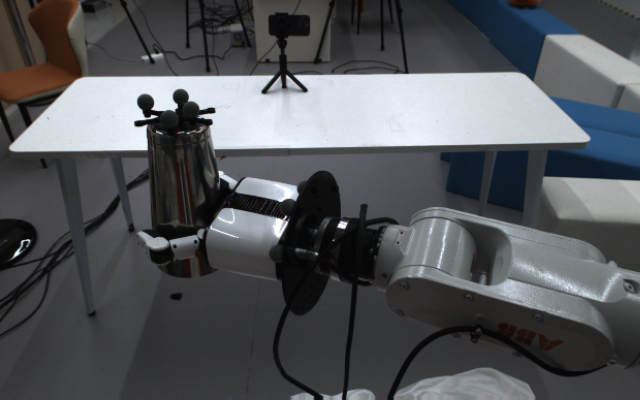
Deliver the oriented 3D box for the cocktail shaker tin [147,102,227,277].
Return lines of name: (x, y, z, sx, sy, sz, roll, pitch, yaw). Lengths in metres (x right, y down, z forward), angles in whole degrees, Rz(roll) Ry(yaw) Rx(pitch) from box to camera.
cocktail shaker tin: (-0.152, -0.006, 0.559, 0.093, 0.170, 0.093, 1, 28, 0)
